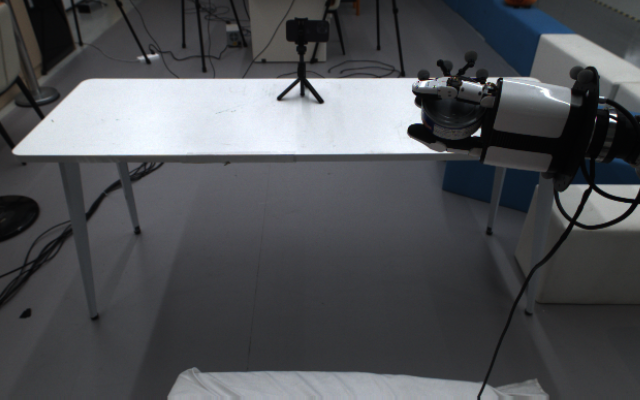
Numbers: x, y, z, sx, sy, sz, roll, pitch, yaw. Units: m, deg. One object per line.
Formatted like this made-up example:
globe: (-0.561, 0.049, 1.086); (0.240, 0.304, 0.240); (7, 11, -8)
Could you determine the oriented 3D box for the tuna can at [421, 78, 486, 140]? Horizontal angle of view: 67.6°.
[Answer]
tuna can: (0.180, -0.126, 0.657); (0.085, 0.034, 0.085); (-4, 61, 7)
